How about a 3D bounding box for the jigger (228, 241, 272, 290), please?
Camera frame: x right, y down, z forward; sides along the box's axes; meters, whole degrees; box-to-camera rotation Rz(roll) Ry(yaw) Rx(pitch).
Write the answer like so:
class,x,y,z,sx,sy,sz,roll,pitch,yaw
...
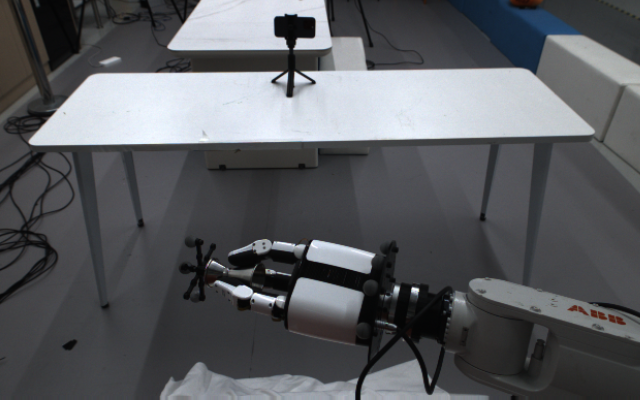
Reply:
class,x,y,z,sx,sy,sz,roll,pitch,yaw
jigger,-0.103,0.095,0.629,0.071,0.043,0.043,6,34,16
